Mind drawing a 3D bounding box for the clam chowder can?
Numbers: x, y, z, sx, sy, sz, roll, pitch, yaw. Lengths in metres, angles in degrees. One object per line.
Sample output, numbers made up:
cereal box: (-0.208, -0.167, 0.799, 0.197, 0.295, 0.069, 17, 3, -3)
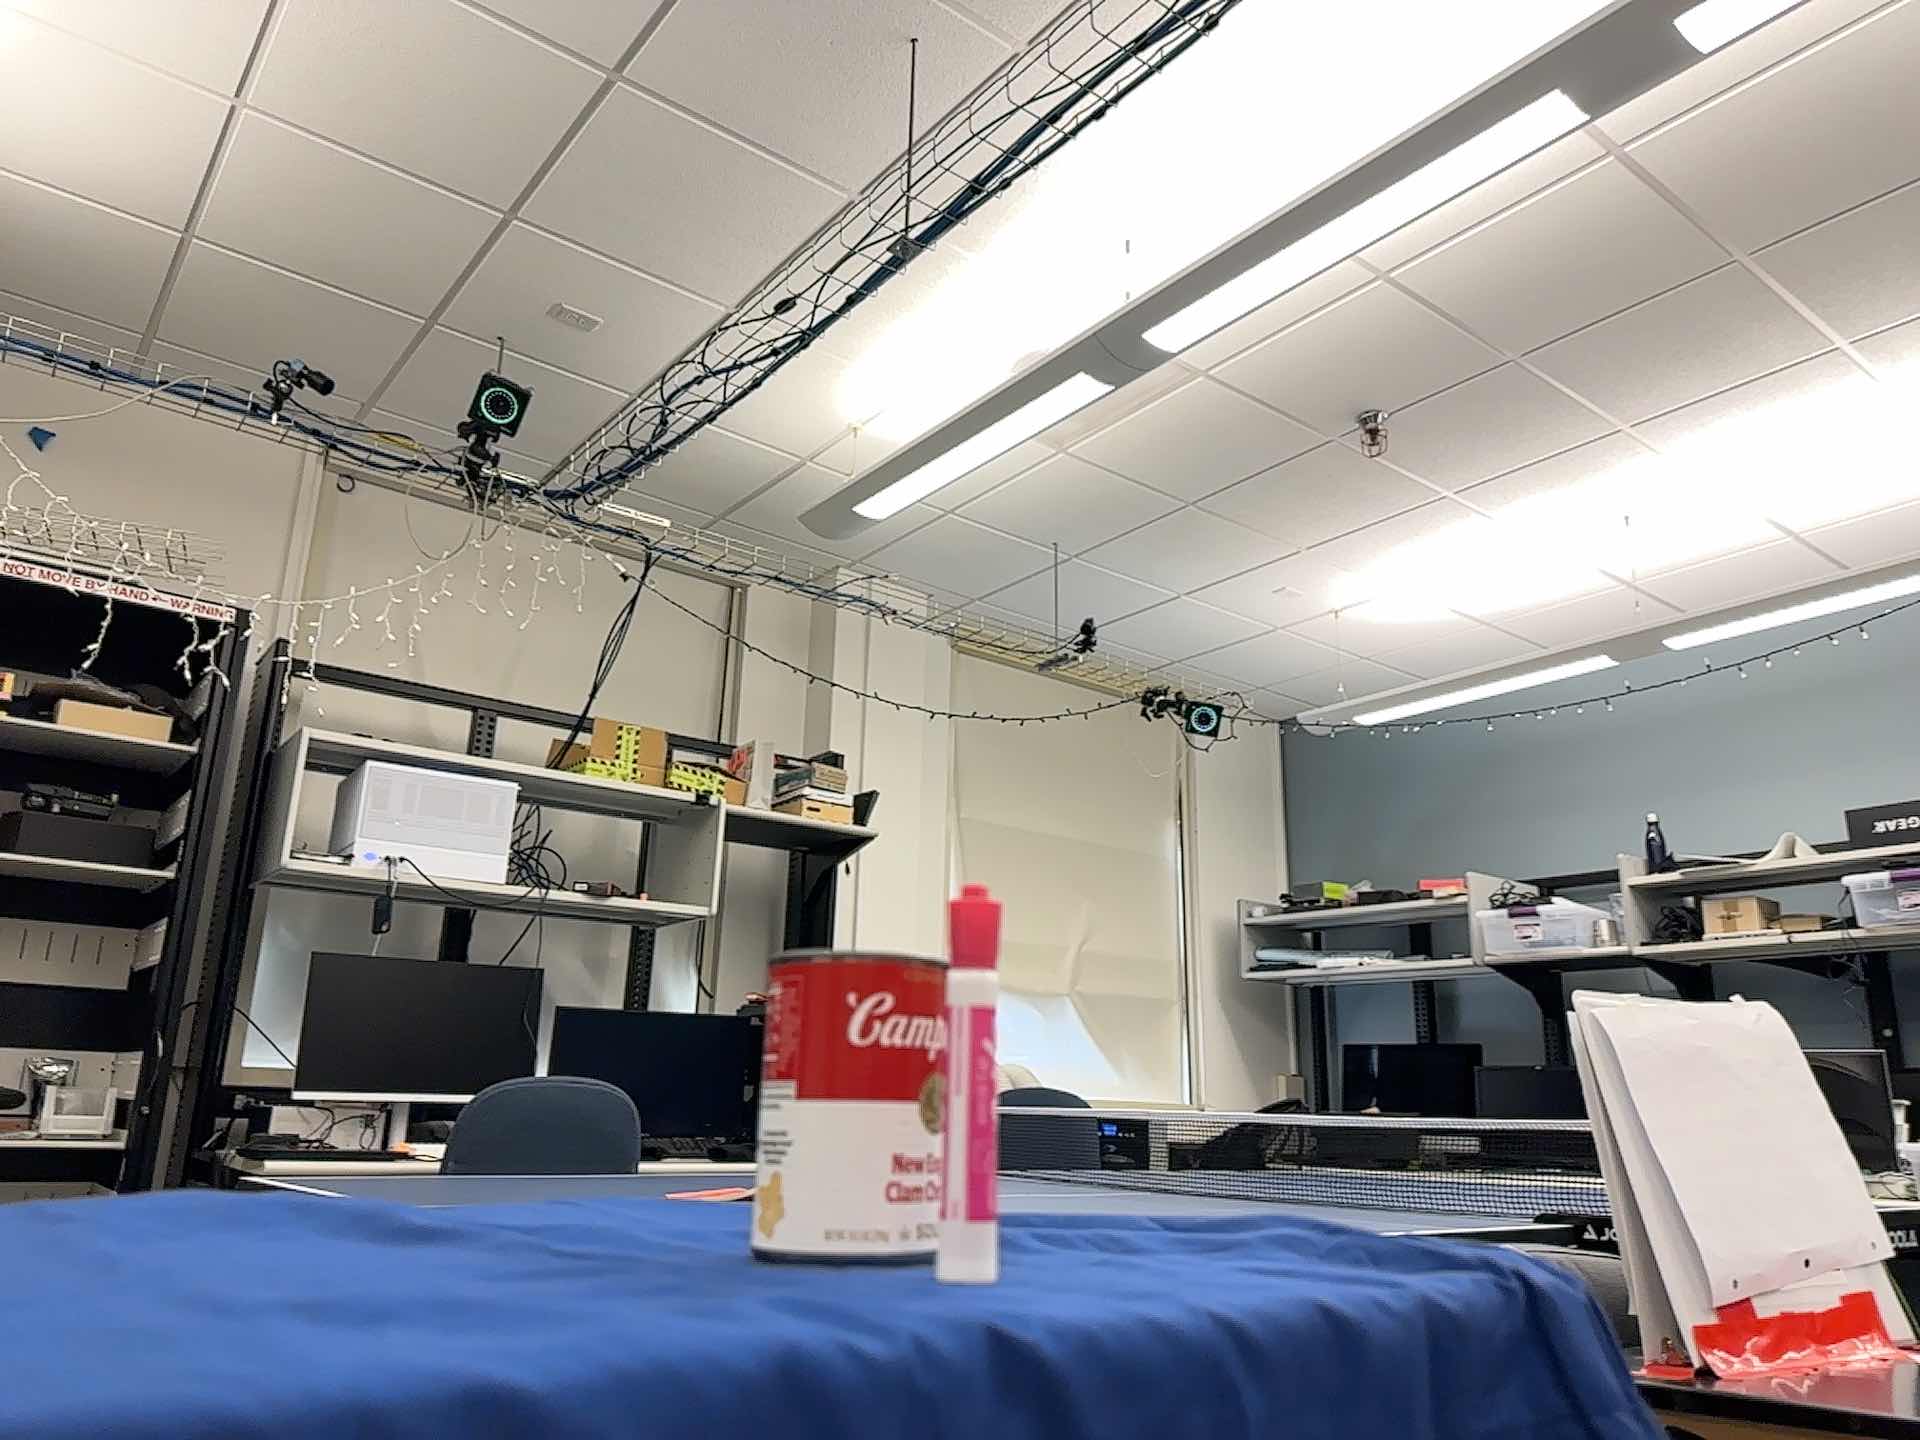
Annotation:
clam chowder can: (-0.038, 0.133, 0.478, 0.068, 0.102, 0.068, 2, -13, 0)

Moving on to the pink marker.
pink marker: (0.003, 0.111, 0.424, 0.020, 0.121, 0.020, 2, -14, 0)
